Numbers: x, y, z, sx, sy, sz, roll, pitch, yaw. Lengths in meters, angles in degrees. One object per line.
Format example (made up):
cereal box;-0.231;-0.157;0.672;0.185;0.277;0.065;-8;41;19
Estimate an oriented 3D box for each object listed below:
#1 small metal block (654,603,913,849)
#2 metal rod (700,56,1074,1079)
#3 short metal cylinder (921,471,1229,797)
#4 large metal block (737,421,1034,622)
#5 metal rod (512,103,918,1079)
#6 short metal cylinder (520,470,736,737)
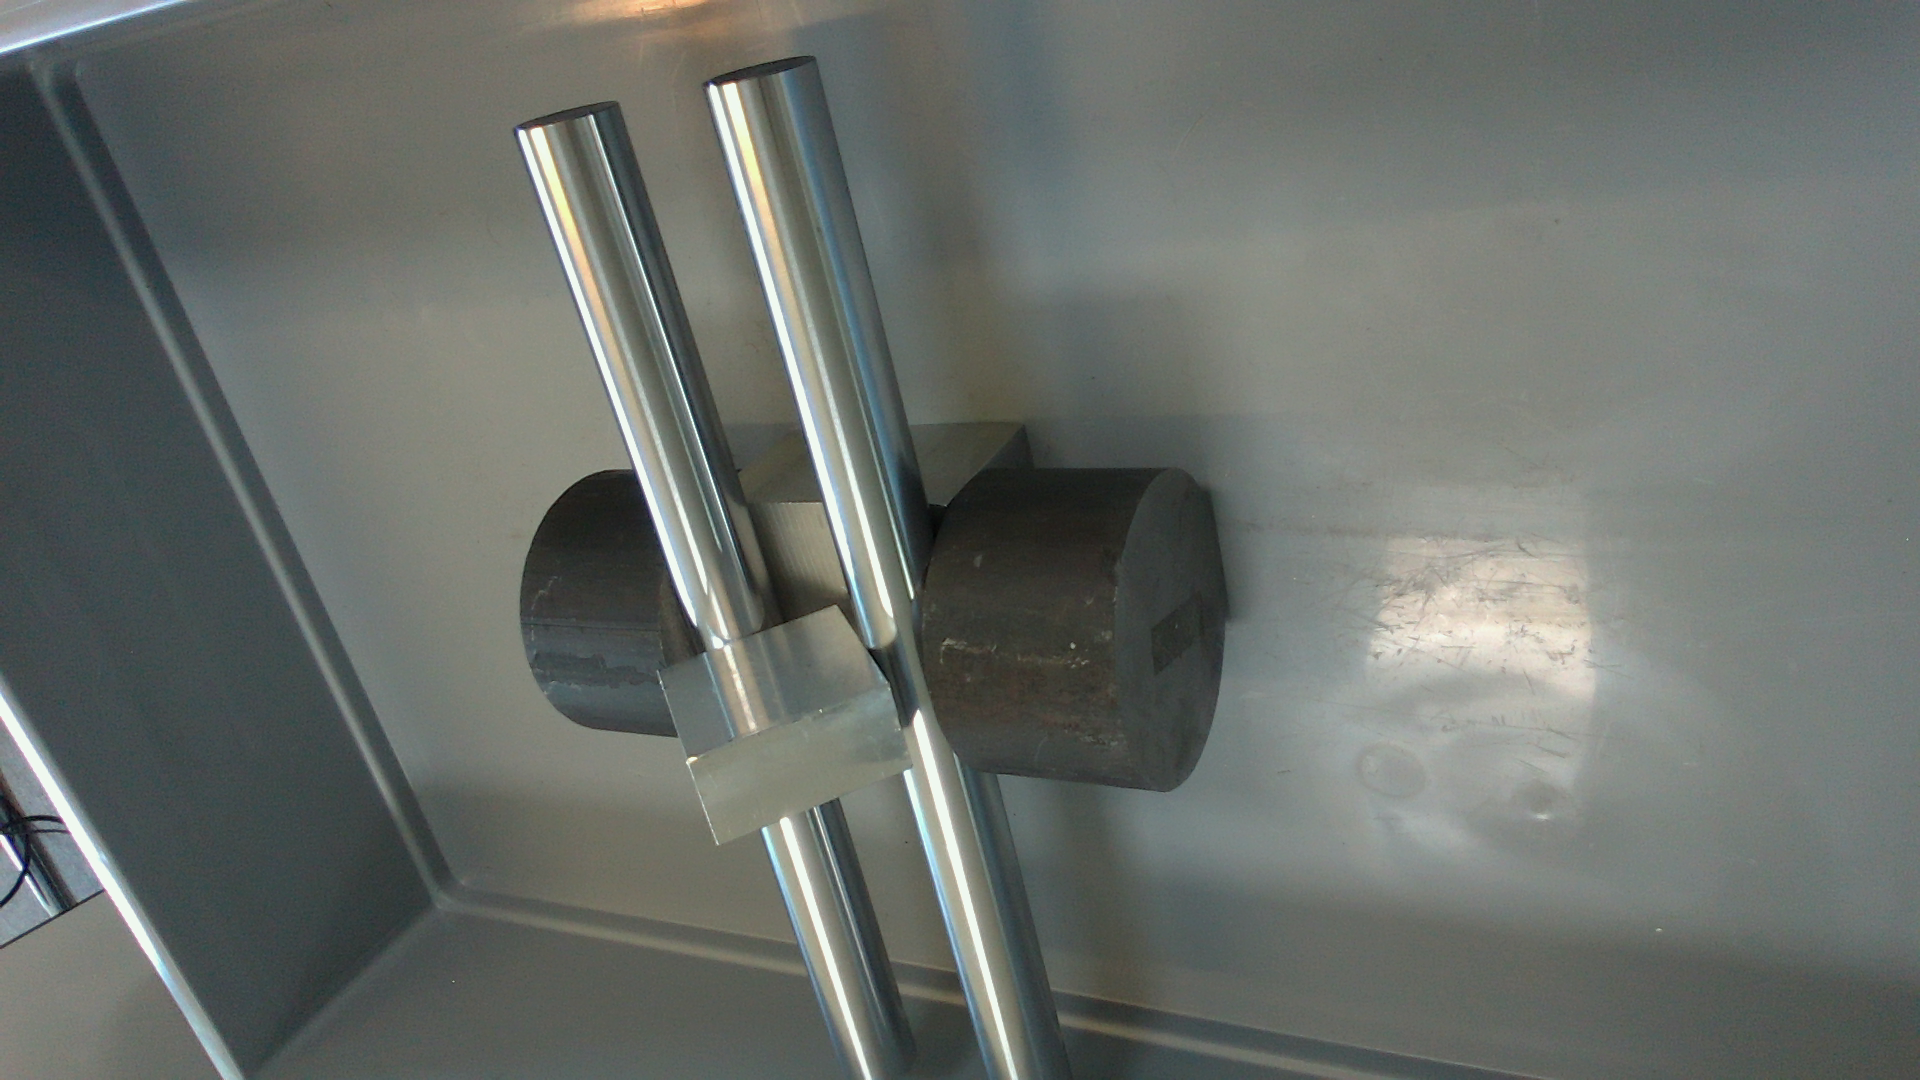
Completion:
small metal block;-0.045;0.045;0.346;0.050;0.050;0.025;-135;27;-61
metal rod;-0.010;0.033;0.353;0.025;0.025;0.300;1;119;28
short metal cylinder;0.032;0.023;0.352;0.050;0.080;0.080;1;119;29
large metal block;-0.020;0.014;0.394;0.080;0.050;0.080;1;119;28
metal rod;-0.058;0.035;0.380;0.025;0.025;0.300;1;119;28
short metal cylinder;-0.084;0.019;0.412;0.050;0.080;0.080;1;119;28
